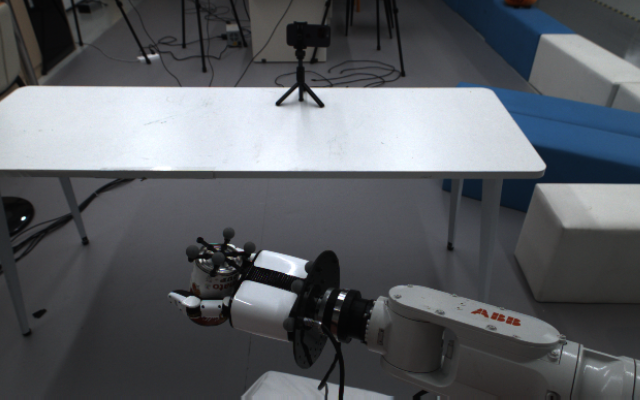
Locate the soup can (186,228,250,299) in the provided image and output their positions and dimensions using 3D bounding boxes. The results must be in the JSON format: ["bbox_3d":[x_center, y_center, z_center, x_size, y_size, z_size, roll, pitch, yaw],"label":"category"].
[{"bbox_3d":[-0.152,0.122,0.692,0.067,0.101,0.067,13,31,-8],"label":"soup can"}]
